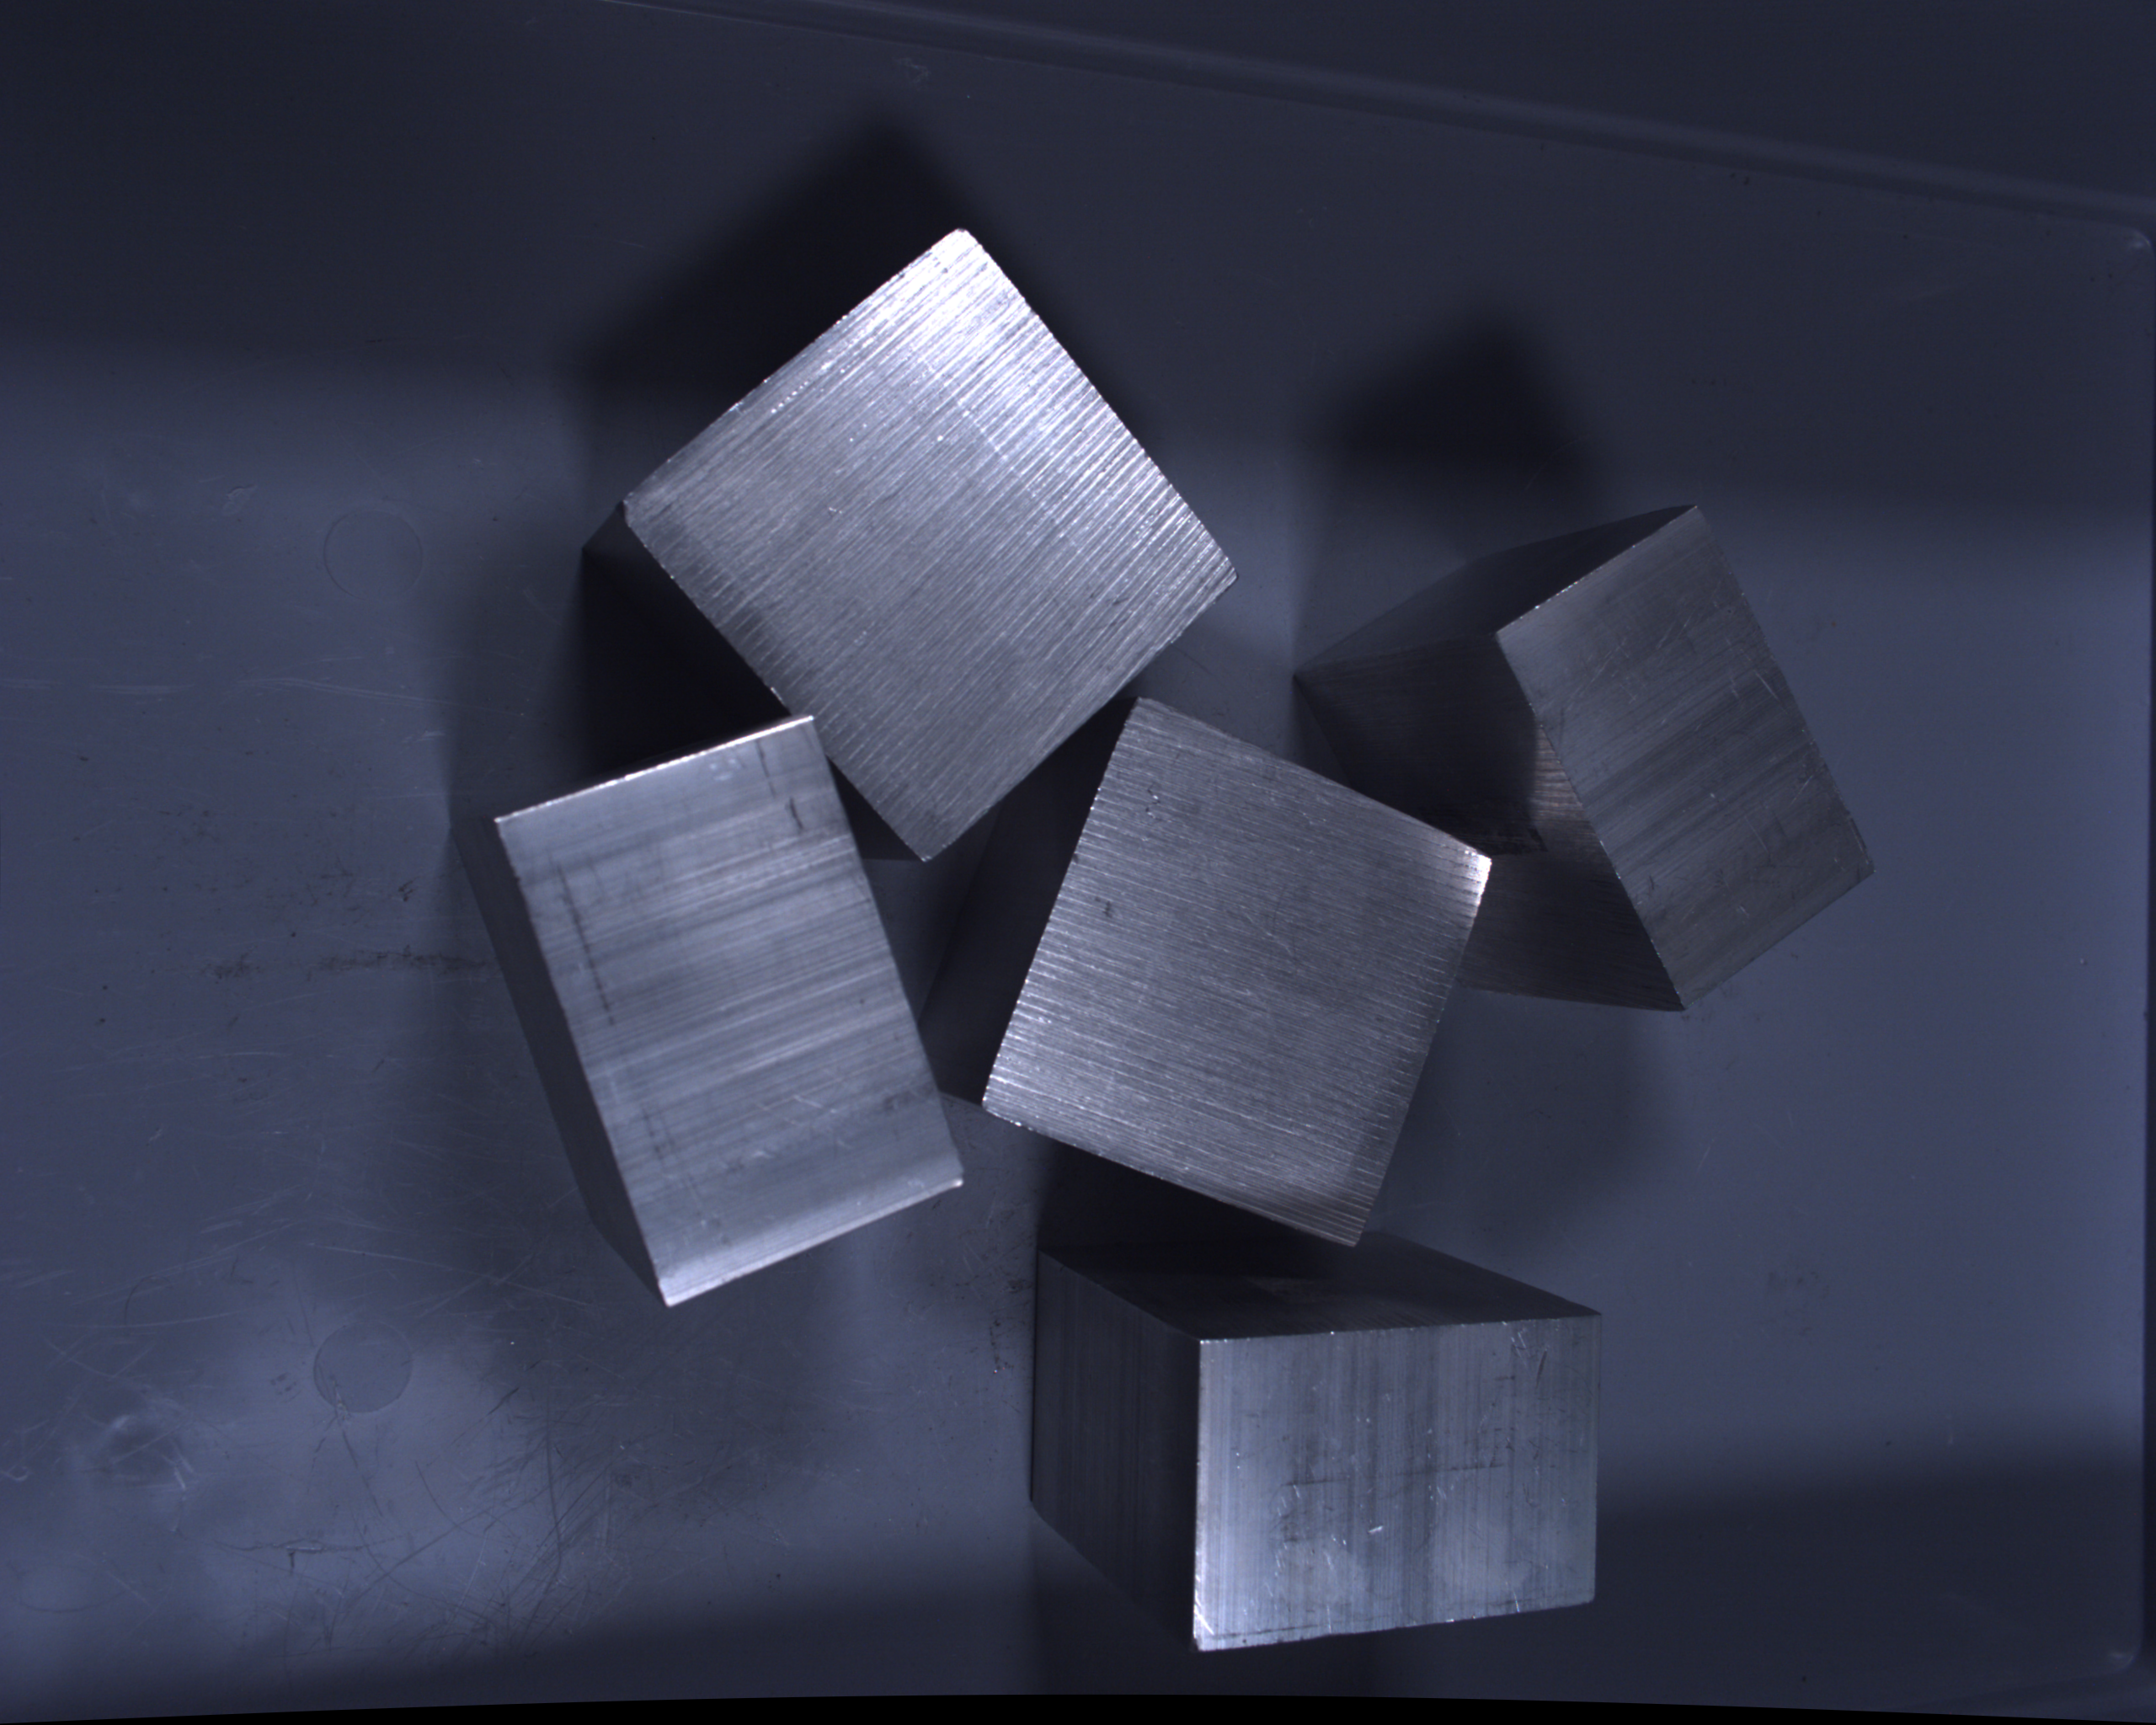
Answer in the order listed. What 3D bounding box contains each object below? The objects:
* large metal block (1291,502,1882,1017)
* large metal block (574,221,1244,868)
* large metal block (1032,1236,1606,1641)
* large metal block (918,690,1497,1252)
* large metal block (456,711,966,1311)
[{"bbox_3d":[0.099,-0.019,0.417,0.050,0.080,0.080,-33,101,-17],"label":"large metal block"},{"bbox_3d":[-0.032,-0.055,0.384,0.080,0.050,0.080,-44,104,-15],"label":"large metal block"},{"bbox_3d":[0.043,0.104,0.398,0.081,0.080,0.050,1,90,-20],"label":"large metal block"},{"bbox_3d":[0.022,0.021,0.405,0.080,0.050,0.080,24,82,-19],"label":"large metal block"},{"bbox_3d":[-0.066,0.022,0.356,0.050,0.080,0.080,-20,97,-19],"label":"large metal block"}]
